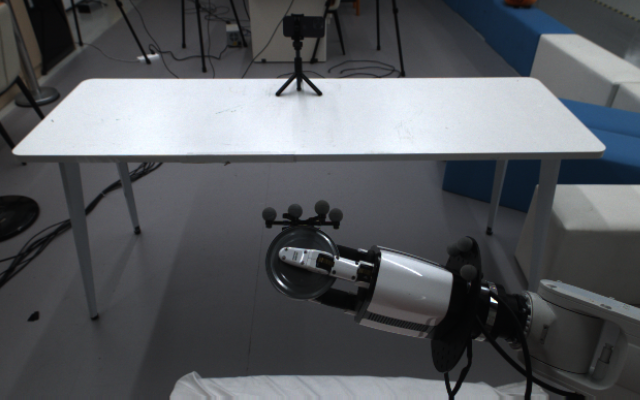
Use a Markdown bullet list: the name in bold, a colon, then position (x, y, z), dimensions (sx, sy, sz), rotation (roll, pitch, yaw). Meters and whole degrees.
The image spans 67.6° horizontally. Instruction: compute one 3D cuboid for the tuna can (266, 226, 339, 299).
- **tuna can**: position (-0.018, 0.078, 0.560), dimensions (0.085, 0.034, 0.085), rotation (1, 72, -4)
